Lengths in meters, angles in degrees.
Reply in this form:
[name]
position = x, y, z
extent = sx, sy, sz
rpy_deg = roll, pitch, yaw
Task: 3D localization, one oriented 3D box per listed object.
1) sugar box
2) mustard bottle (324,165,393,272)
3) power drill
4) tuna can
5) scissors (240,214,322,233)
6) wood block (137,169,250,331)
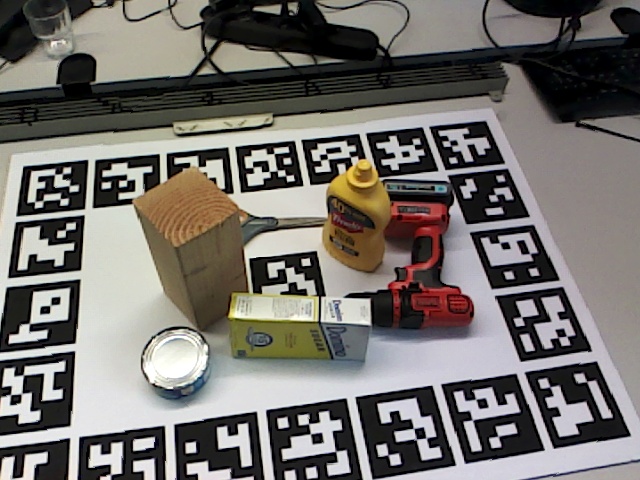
[sugar box]
position = -0.018, 0.113, 0.798
extent = 0.176, 0.092, 0.045
rpy_deg = 4, 52, -1
[mustard bottle]
position = 0.053, -0.036, 0.850
extent = 0.096, 0.191, 0.058
rpy_deg = 36, 63, 19
[power drill]
position = 0.107, 0.033, 0.875
extent = 0.184, 0.057, 0.187
rpy_deg = 4, 62, 1
[tuna can]
position = -0.181, 0.154, 0.795
extent = 0.086, 0.033, 0.086
rpy_deg = 1, 56, -2
[scissors]
position = -0.096, -0.024, 0.934
extent = 0.202, 0.016, 0.088
rpy_deg = -5, 52, -5
[wood block]
position = -0.156, 0.019, 0.800
extent = 0.091, 0.206, 0.090
rpy_deg = -33, 64, -22
